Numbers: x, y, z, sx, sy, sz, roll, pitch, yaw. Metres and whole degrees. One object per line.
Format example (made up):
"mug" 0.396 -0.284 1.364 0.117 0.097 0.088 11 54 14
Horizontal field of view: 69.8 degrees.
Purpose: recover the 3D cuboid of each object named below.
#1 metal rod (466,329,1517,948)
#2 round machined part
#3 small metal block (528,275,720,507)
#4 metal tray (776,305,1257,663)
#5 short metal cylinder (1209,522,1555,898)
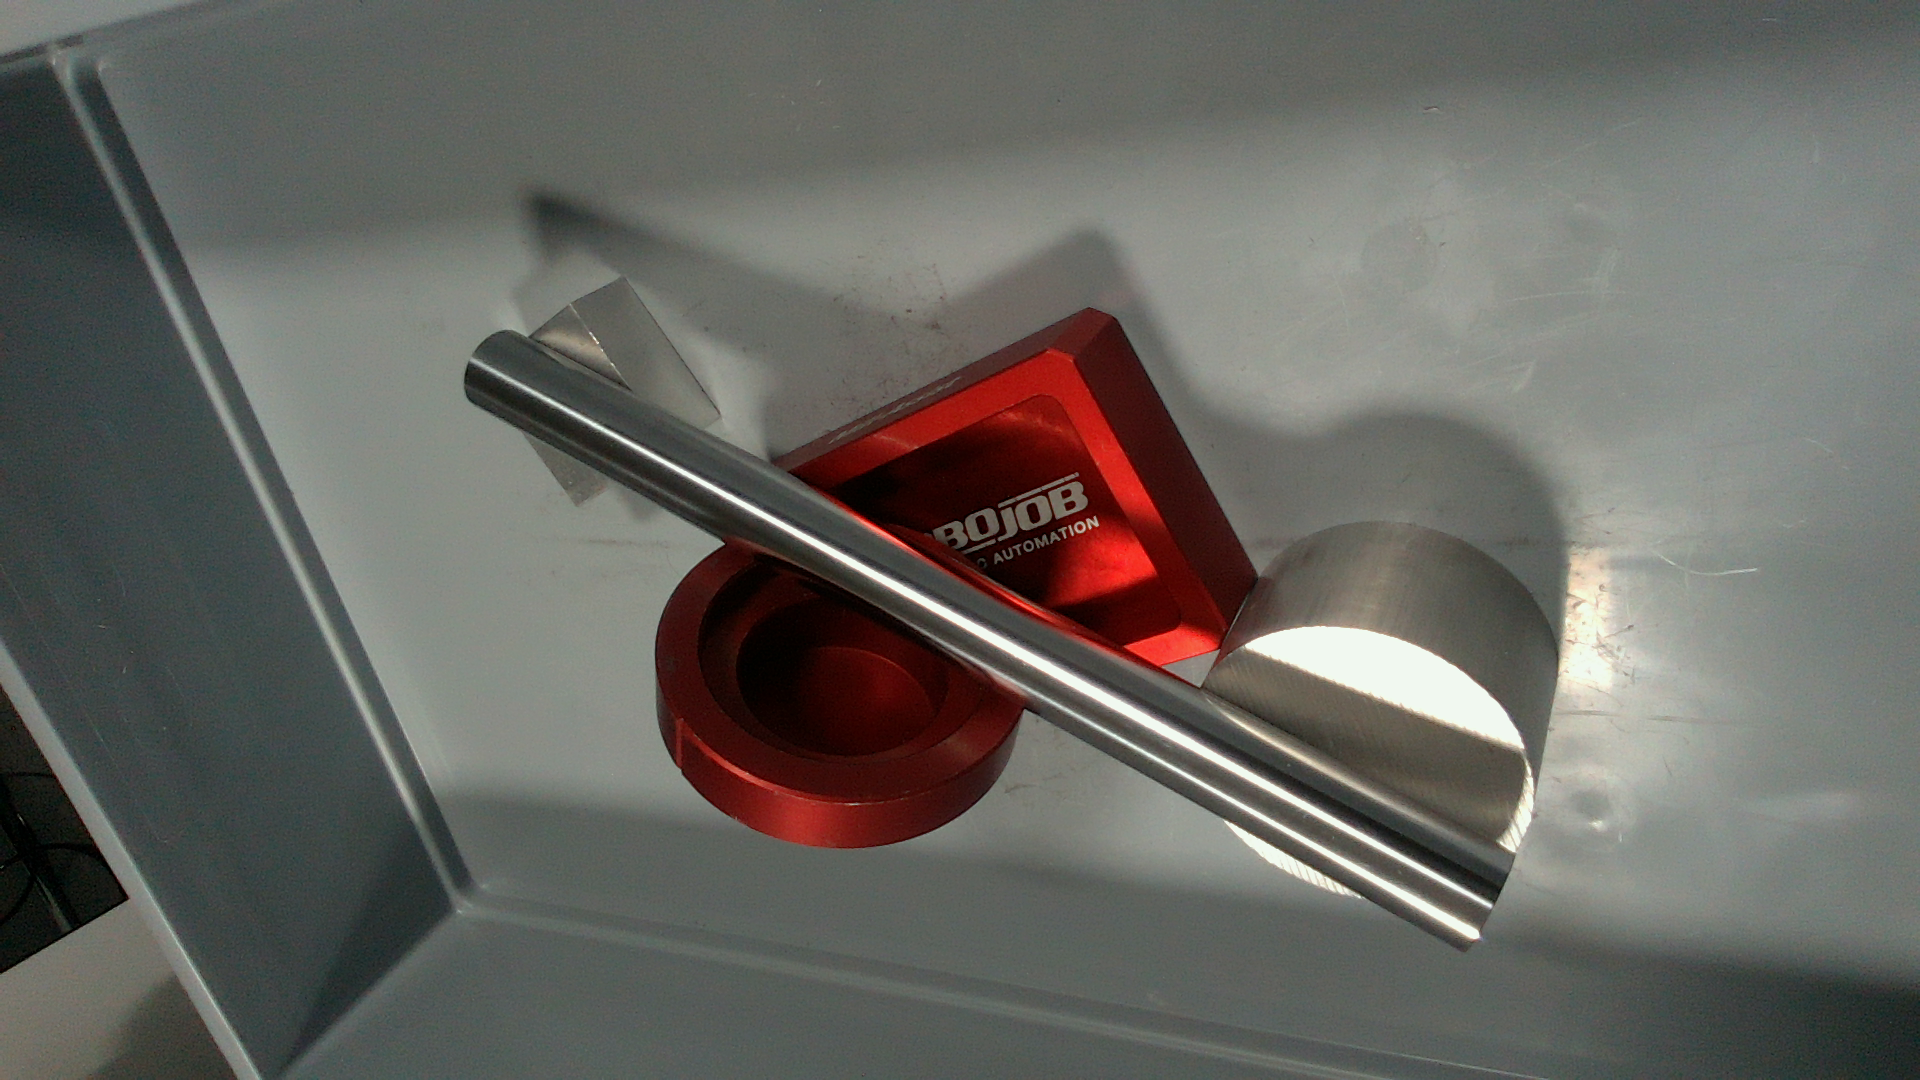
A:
"metal rod" -0.009 0.014 0.352 0.299 0.025 0.025 27 128 19
"round machined part" -0.033 0.043 0.372 0.098 0.098 0.042 25 135 13
"small metal block" -0.111 -0.045 0.423 0.050 0.025 0.050 -24 105 37
"metal tray" 0.004 0.001 0.386 0.129 0.030 0.090 -21 107 36
"short metal cylinder" 0.104 0.043 0.346 0.080 0.050 0.080 13 124 21
